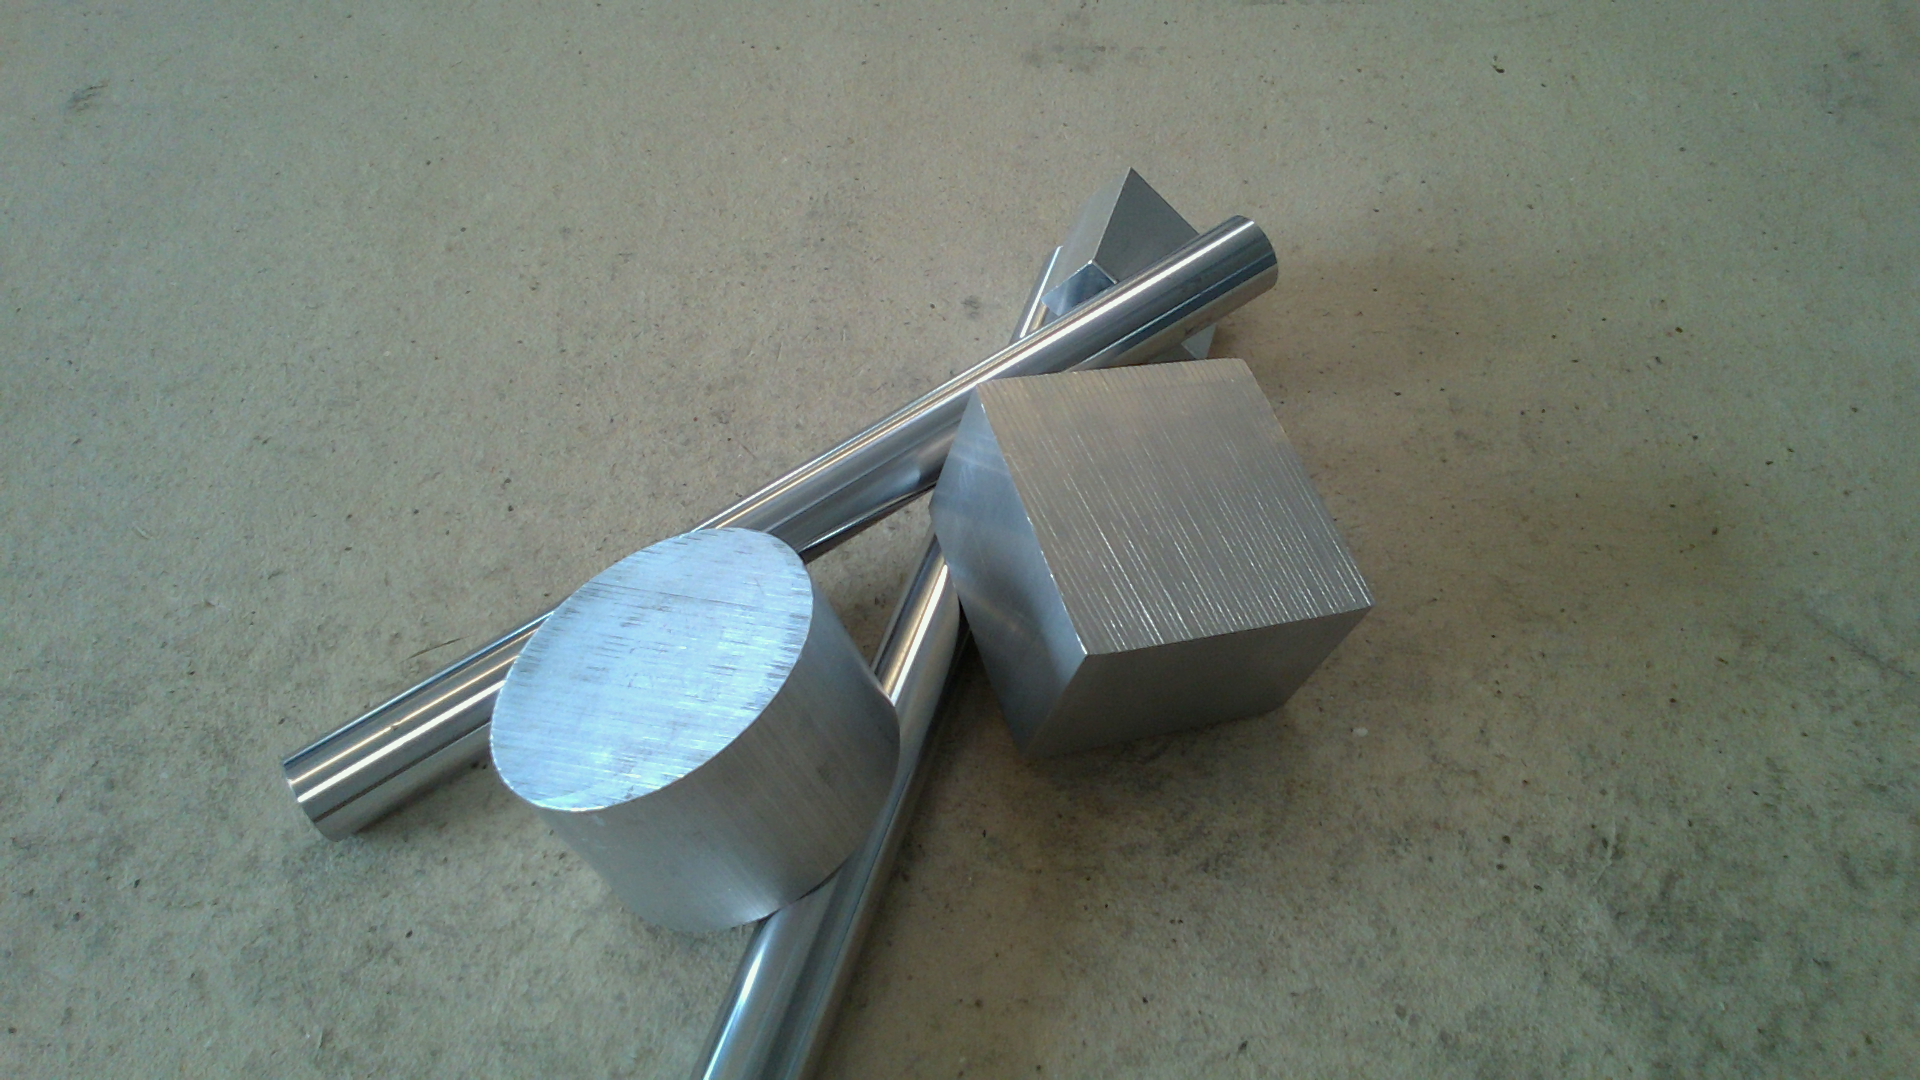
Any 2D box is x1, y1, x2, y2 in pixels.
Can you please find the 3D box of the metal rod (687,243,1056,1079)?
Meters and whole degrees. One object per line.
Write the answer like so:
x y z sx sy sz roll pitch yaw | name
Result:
-0.005 0.018 0.376 0.025 0.025 0.301 13 51 11 | metal rod

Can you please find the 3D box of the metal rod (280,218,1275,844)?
-0.036 -0.011 0.378 0.301 0.025 0.025 -31 56 -16 | metal rod

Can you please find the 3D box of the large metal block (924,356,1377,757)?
0.045 0.002 0.354 0.080 0.050 0.080 -7 58 -22 | large metal block

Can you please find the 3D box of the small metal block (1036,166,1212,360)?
0.057 -0.083 0.446 0.050 0.025 0.050 39 49 -20 | small metal block

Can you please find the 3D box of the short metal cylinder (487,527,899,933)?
-0.061 0.043 0.322 0.080 0.050 0.080 -15 41 14 | short metal cylinder
